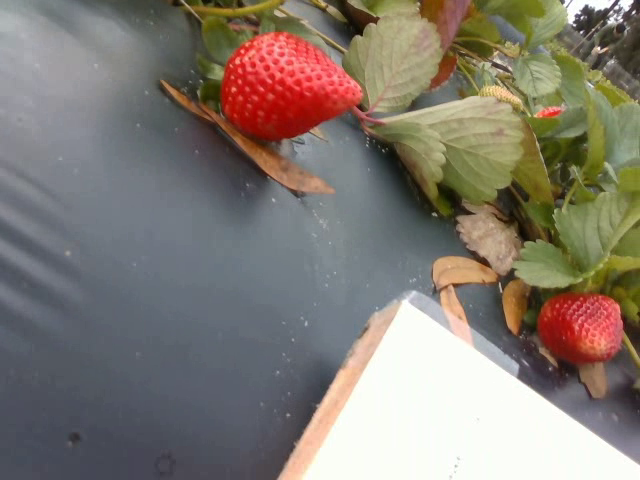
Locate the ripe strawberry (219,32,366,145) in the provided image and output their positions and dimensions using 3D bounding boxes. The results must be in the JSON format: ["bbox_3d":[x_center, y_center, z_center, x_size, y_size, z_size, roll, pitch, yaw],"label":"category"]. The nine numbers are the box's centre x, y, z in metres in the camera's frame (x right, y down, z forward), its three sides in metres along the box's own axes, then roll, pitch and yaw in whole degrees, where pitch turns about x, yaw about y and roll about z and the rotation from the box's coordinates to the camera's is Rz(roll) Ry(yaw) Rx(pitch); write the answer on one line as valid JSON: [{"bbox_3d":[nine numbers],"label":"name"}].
[{"bbox_3d":[-0.008,-0.057,0.225,0.065,0.047,0.043,17,-32,41],"label":"ripe strawberry"}]

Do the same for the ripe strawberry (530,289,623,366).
[{"bbox_3d":[0.112,0.039,0.242,0.037,0.041,0.042,-42,3,15],"label":"ripe strawberry"}]
